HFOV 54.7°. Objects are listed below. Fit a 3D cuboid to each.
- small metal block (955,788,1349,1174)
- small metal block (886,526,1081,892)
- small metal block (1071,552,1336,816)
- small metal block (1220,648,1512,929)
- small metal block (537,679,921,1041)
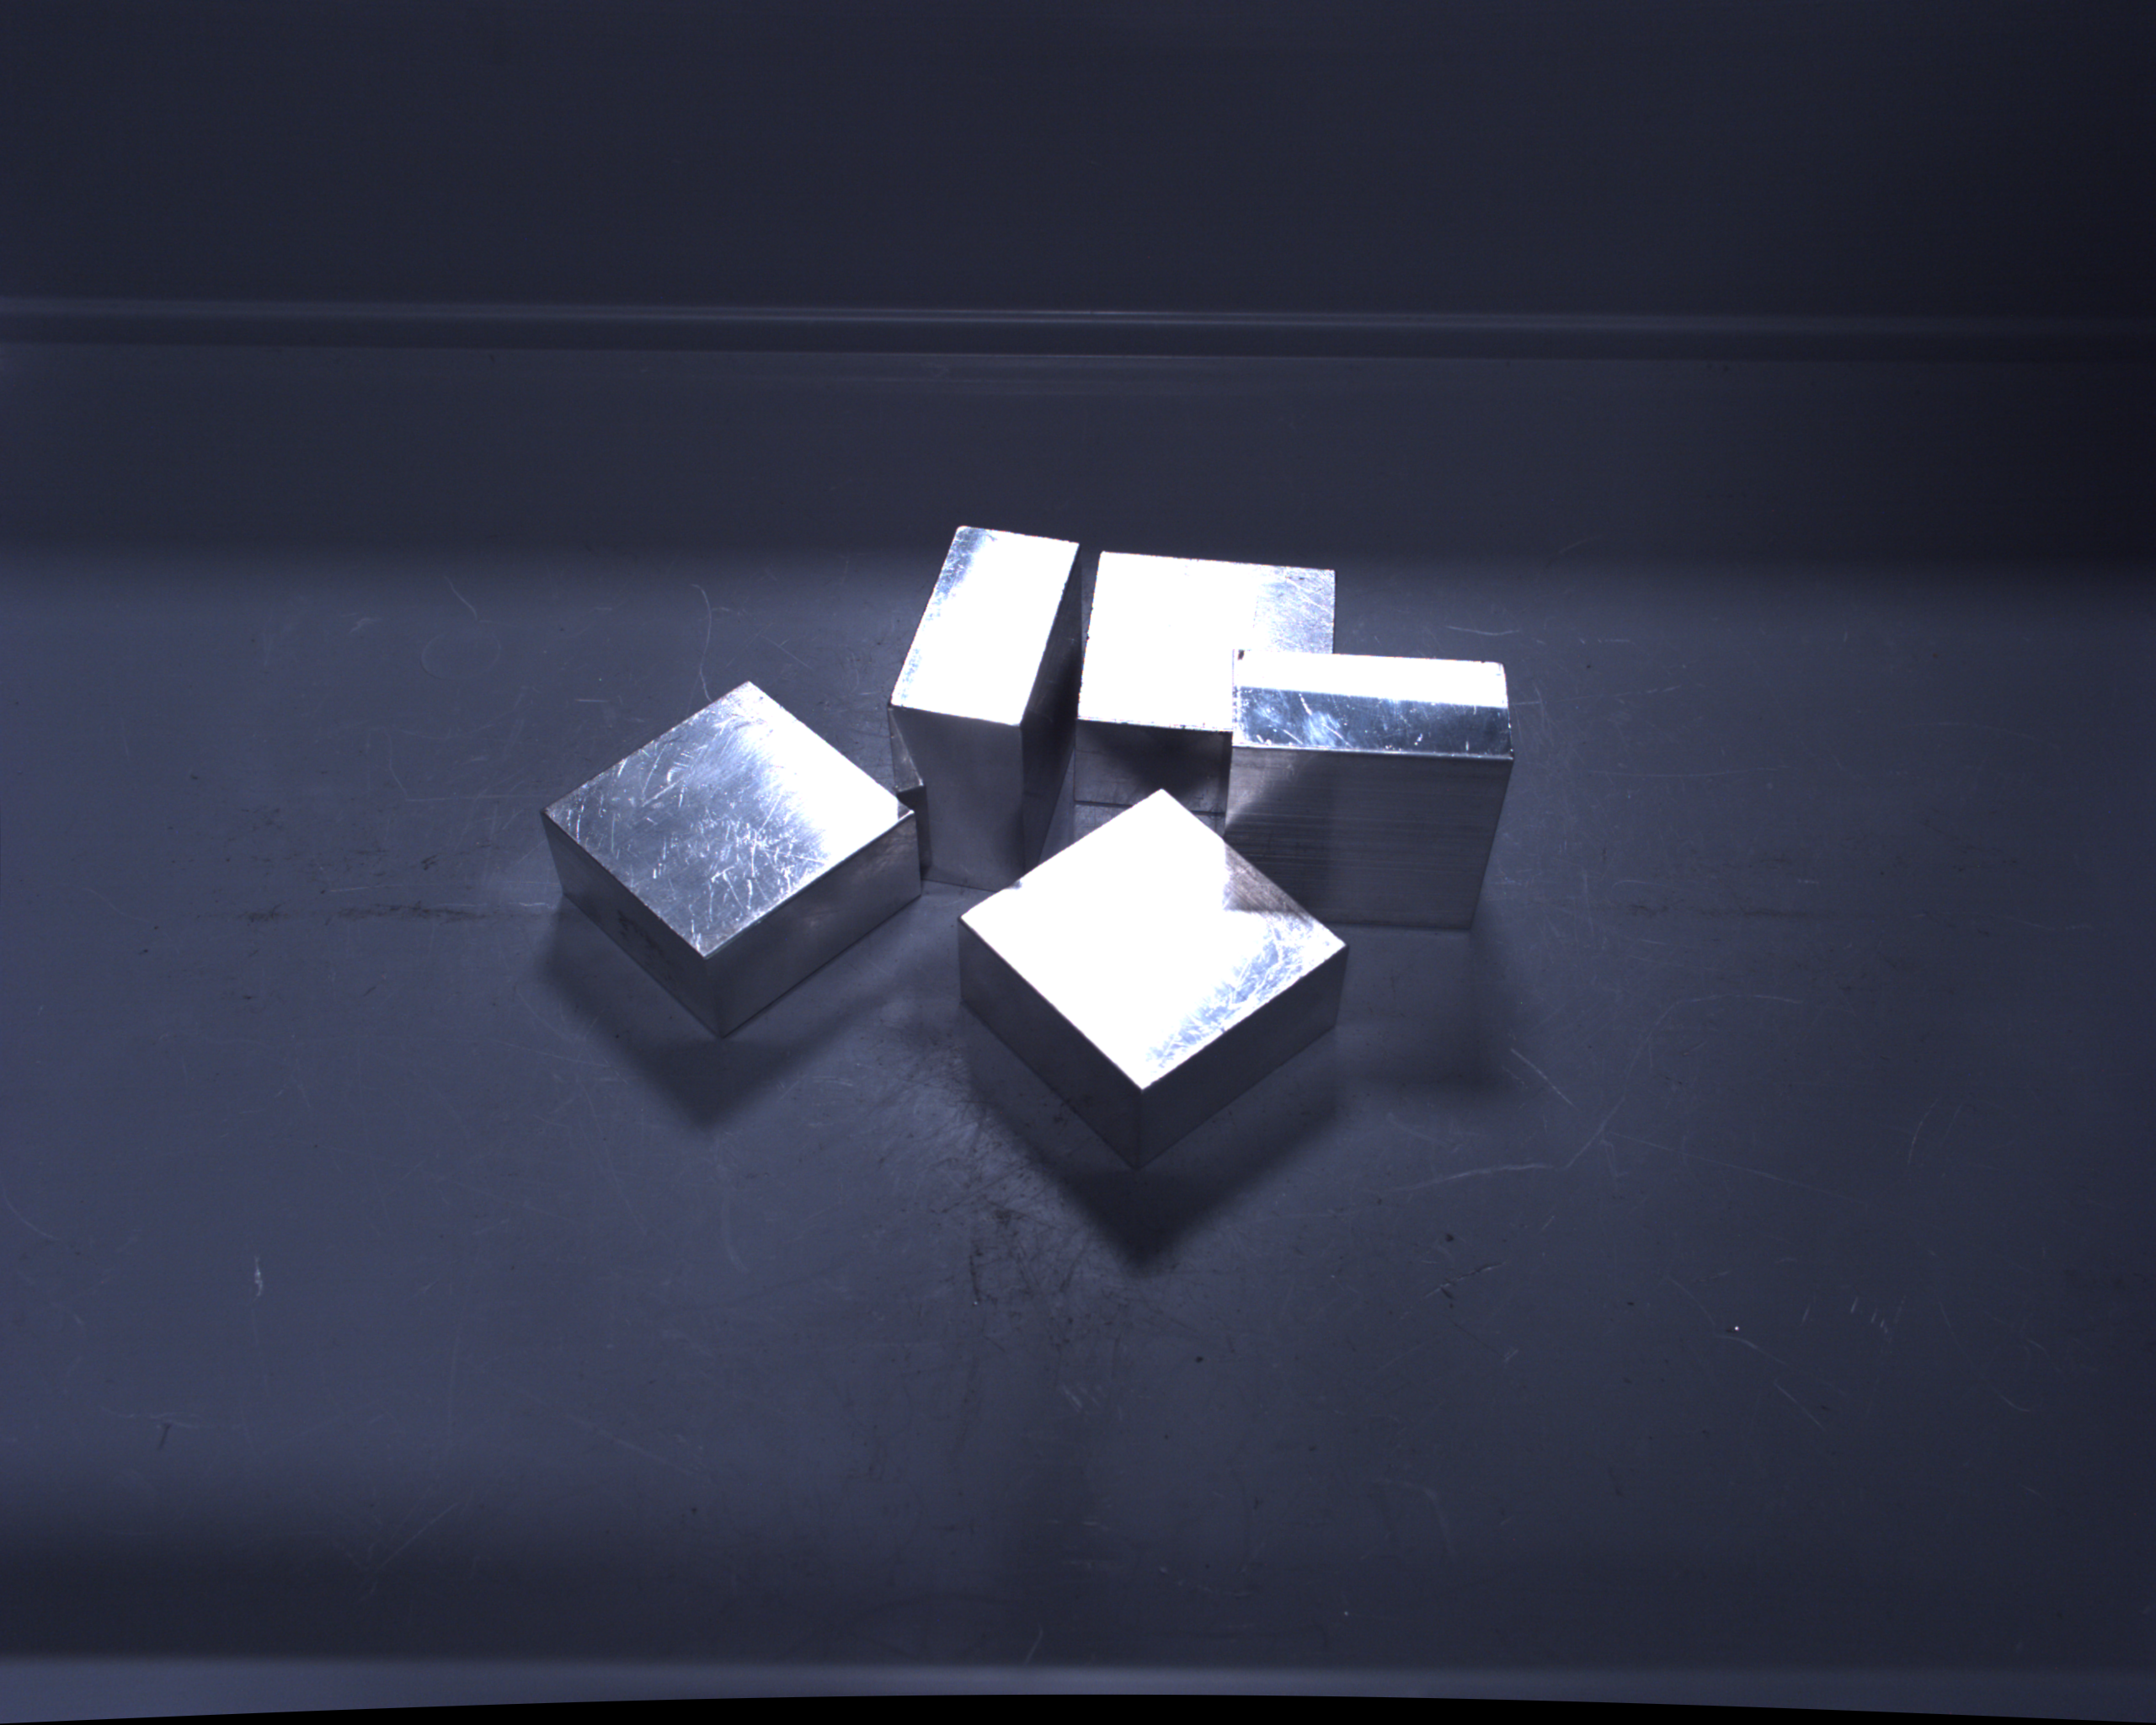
[{"bbox_3d":[0.013,0.021,0.385,0.050,0.025,0.050,-33,58,-25],"label":"small metal block"},{"bbox_3d":[-0.017,-0.029,0.410,0.025,0.050,0.050,10,51,8],"label":"small metal block"},{"bbox_3d":[0.026,-0.037,0.434,0.050,0.025,0.050,5,50,4],"label":"small metal block"},{"bbox_3d":[0.052,-0.013,0.398,0.050,0.050,0.025,2,50,1],"label":"small metal block"},{"bbox_3d":[-0.067,-0.002,0.403,0.050,0.025,0.050,38,59,27],"label":"small metal block"}]
